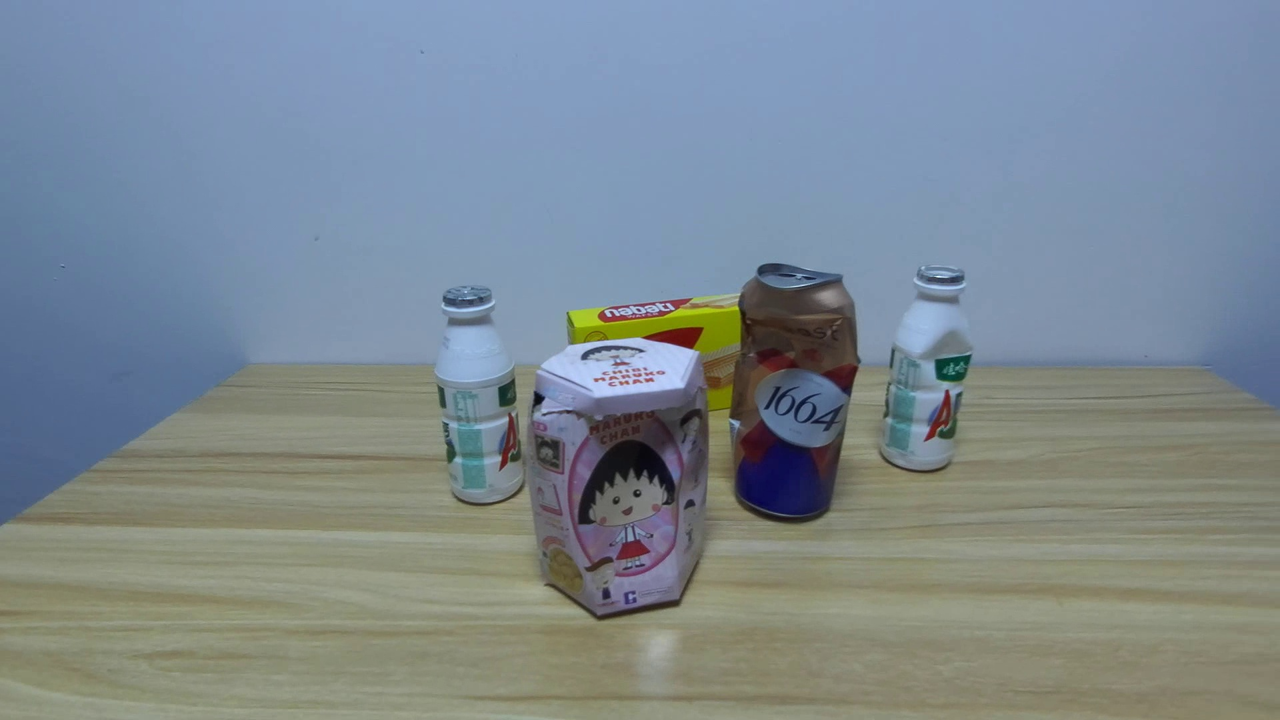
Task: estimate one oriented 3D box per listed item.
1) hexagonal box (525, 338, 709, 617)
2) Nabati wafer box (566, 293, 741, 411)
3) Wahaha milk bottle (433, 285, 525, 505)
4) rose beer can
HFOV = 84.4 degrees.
[{"bbox_3d":[-0.012,0.063,0.400,0.091,0.134,0.090,9,21,24],"label":"hexagonal box"},{"bbox_3d":[0.042,-0.003,0.619,0.203,0.093,0.042,-7,21,-14],"label":"Nabati wafer box"},{"bbox_3d":[-0.110,0.025,0.483,0.053,0.147,0.053,-2,20,1],"label":"Wahaha milk bottle"},{"bbox_3d":[0.097,0.022,0.459,0.073,0.162,0.068,2,20,1],"label":"rose beer can"}]
